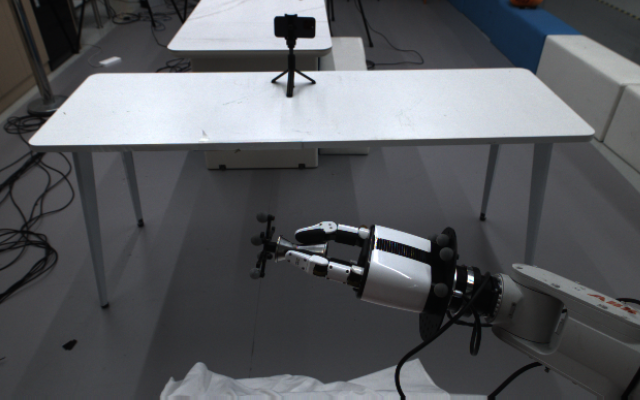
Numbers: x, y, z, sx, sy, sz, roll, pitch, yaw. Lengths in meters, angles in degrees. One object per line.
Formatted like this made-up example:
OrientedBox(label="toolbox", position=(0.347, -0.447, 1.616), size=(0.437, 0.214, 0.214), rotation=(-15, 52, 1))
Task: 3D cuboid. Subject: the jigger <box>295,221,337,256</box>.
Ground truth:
OrientedBox(label="jigger", position=(-0.018, 0.070, 0.674), size=(0.071, 0.043, 0.043), rotation=(9, 35, 4))
